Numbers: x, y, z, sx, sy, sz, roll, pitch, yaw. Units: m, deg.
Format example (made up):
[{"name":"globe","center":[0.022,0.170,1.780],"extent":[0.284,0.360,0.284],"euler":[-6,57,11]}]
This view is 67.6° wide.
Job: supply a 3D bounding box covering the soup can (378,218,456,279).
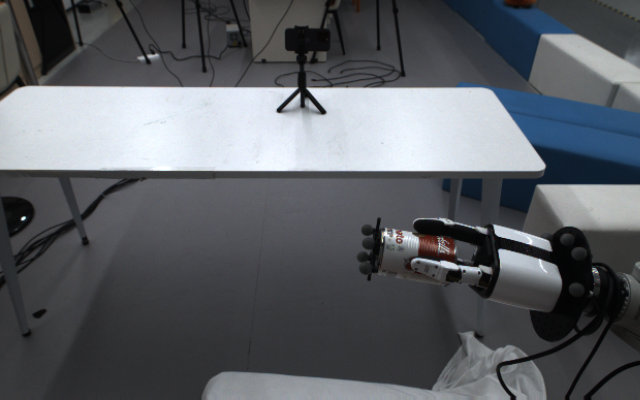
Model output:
[{"name":"soup can","center":[0.132,0.077,0.668],"extent":[0.101,0.067,0.067],"euler":[9,35,1]}]
